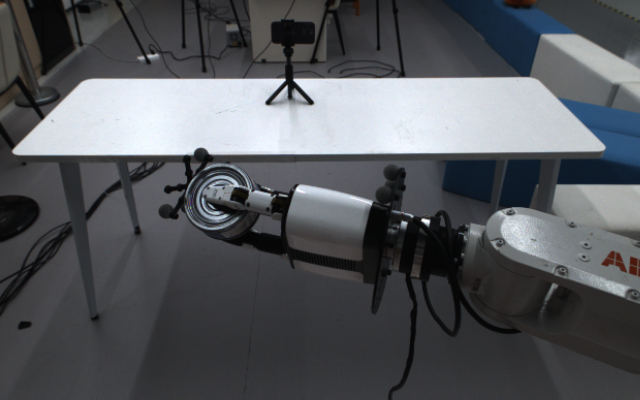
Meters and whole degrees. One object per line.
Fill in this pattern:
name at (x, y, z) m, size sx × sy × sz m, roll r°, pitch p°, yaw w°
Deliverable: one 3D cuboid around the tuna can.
tuna can at (-0.108, 0.006, 0.560) m, size 0.085 × 0.034 × 0.085 m, roll -3°, pitch 70°, yaw 9°
